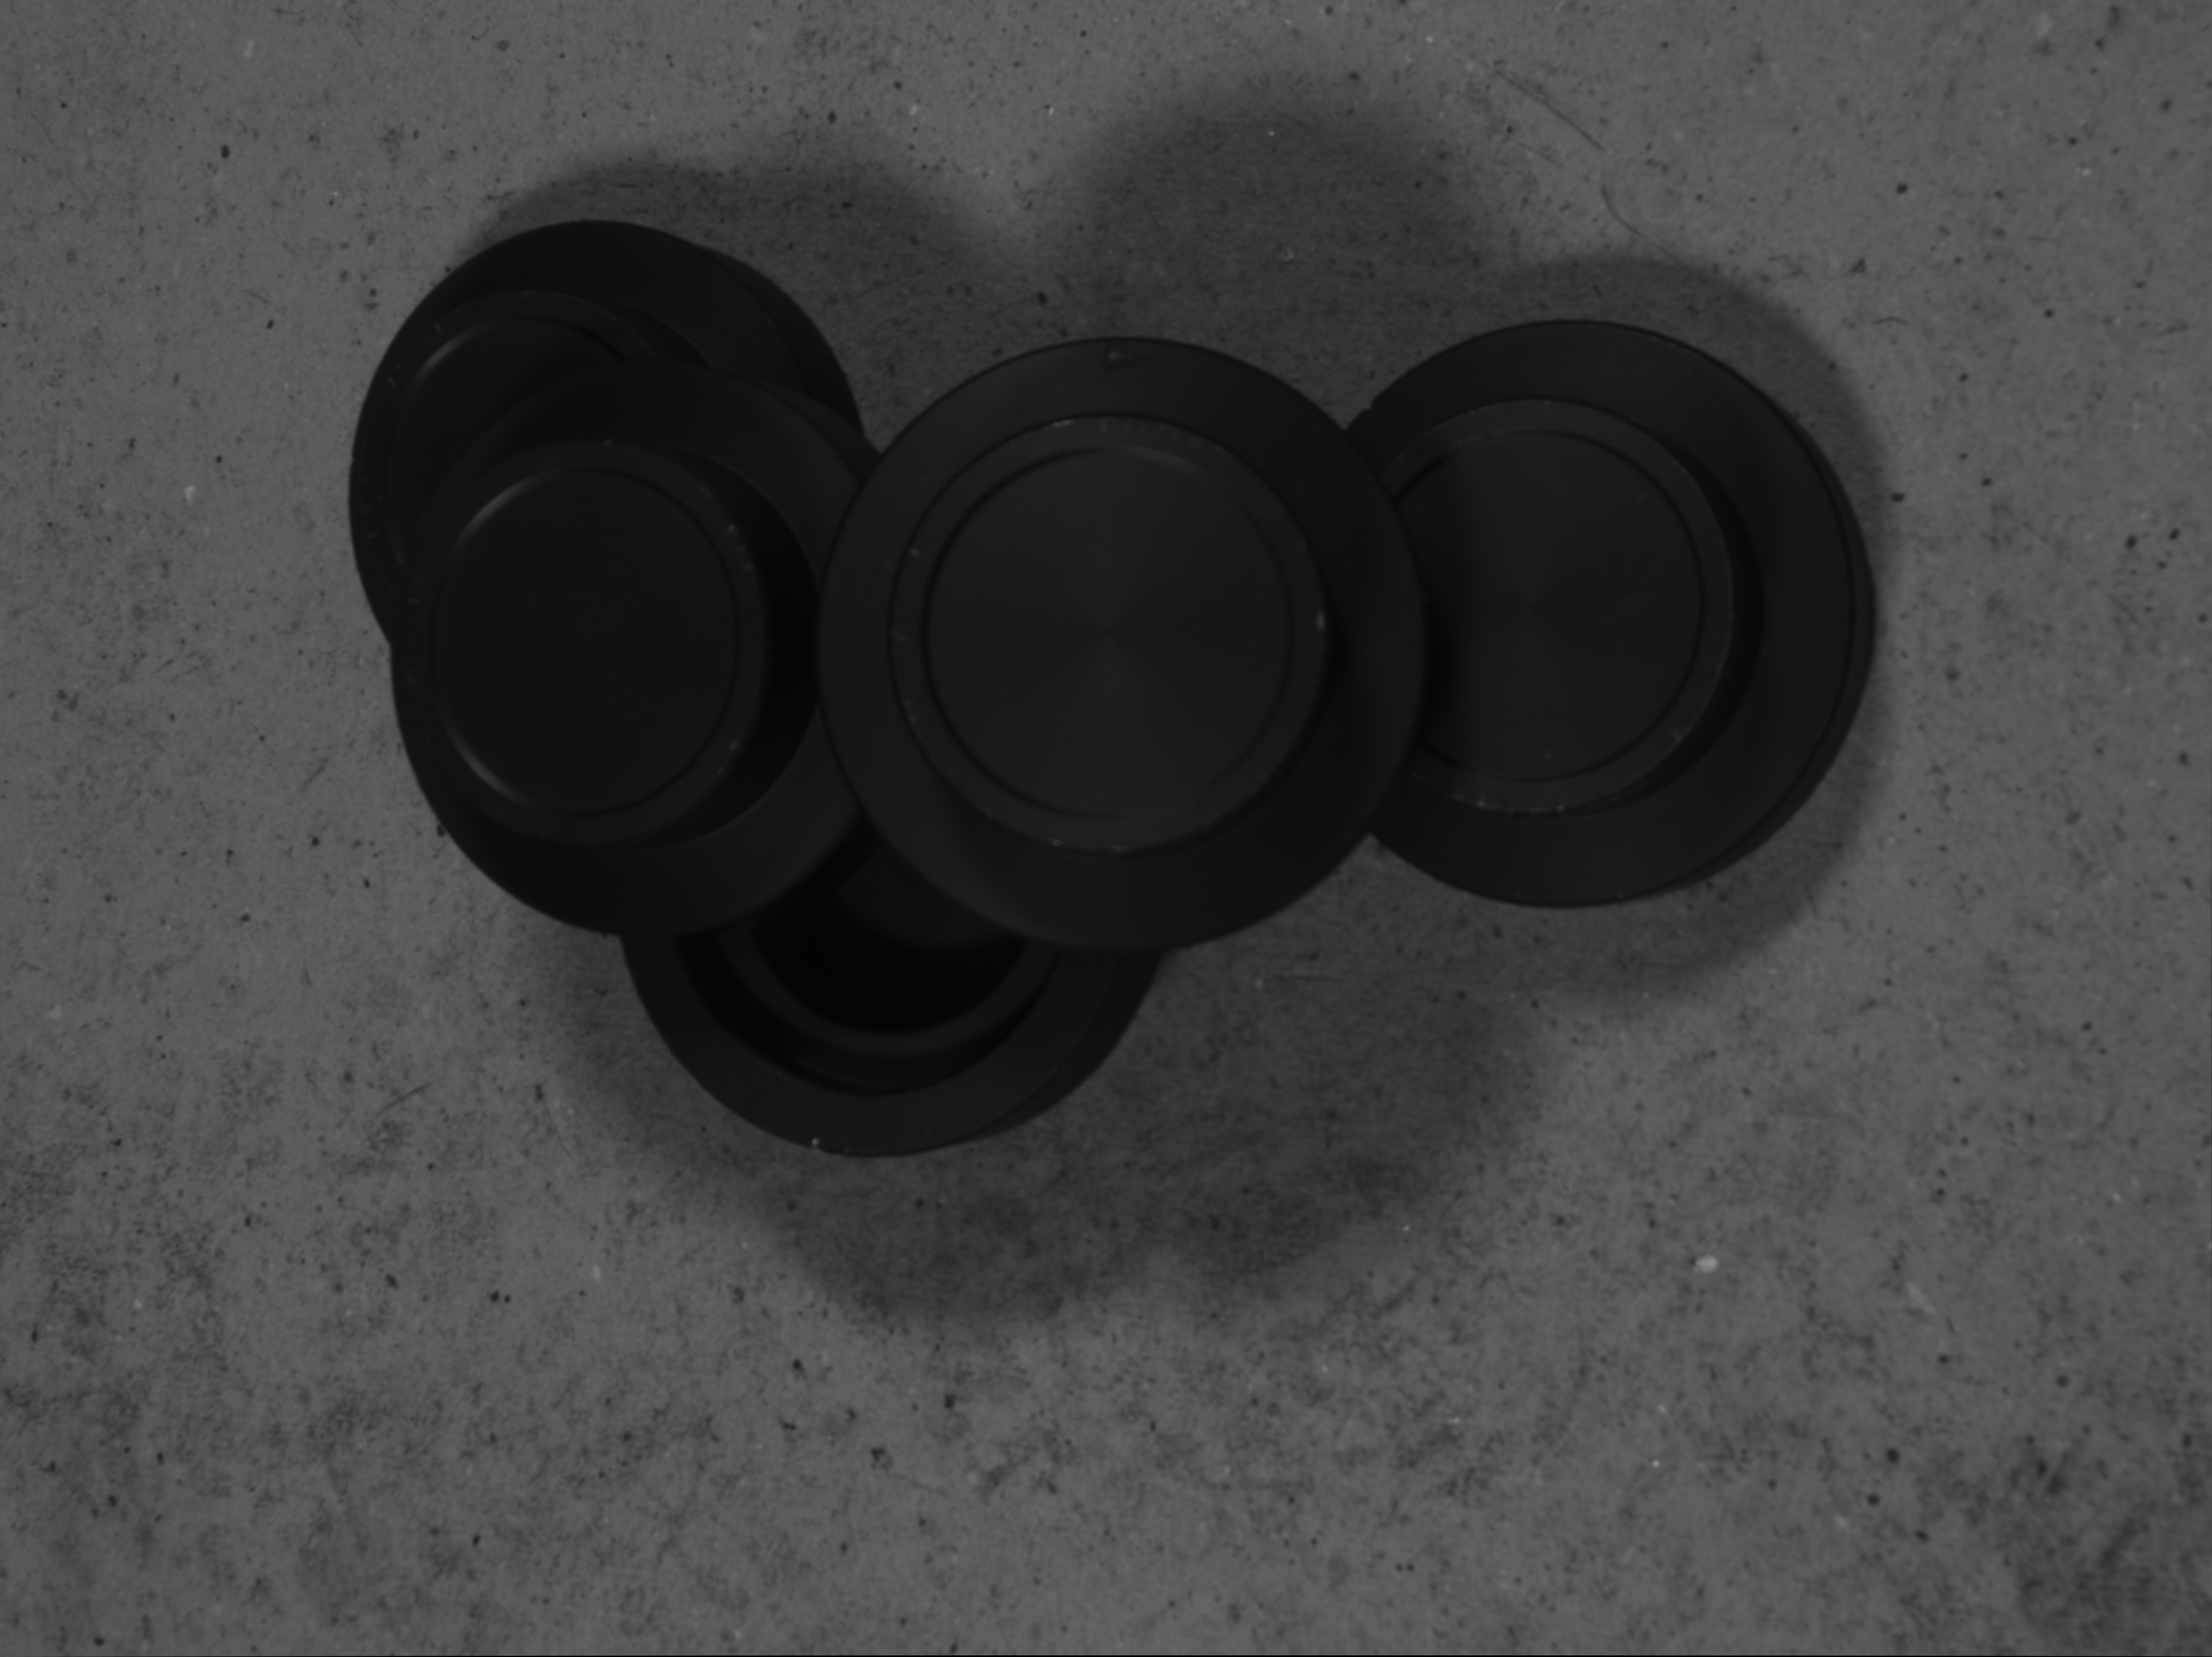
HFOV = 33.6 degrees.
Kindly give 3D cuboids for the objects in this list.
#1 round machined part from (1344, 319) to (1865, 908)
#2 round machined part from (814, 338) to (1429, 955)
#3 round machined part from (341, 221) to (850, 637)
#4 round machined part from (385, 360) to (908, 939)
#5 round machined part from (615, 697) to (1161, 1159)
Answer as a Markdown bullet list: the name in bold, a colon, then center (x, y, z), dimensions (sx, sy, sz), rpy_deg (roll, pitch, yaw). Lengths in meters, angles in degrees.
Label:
- **round machined part**: center (0.074, -0.036, 0.609), dimensions (0.098, 0.042, 0.098), rpy_deg (0, 90, 20)
- **round machined part**: center (0.002, -0.029, 0.579), dimensions (0.098, 0.042, 0.098), rpy_deg (0, 88, 7)
- **round machined part**: center (-0.098, -0.062, 0.670), dimensions (0.098, 0.042, 0.098), rpy_deg (0, 90, 20)
- **round machined part**: center (-0.080, -0.030, 0.619), dimensions (0.098, 0.042, 0.098), rpy_deg (0, 90, 20)
- **round machined part**: center (-0.036, 0.008, 0.648), dimensions (0.098, 0.042, 0.098), rpy_deg (0, 90, 20)
